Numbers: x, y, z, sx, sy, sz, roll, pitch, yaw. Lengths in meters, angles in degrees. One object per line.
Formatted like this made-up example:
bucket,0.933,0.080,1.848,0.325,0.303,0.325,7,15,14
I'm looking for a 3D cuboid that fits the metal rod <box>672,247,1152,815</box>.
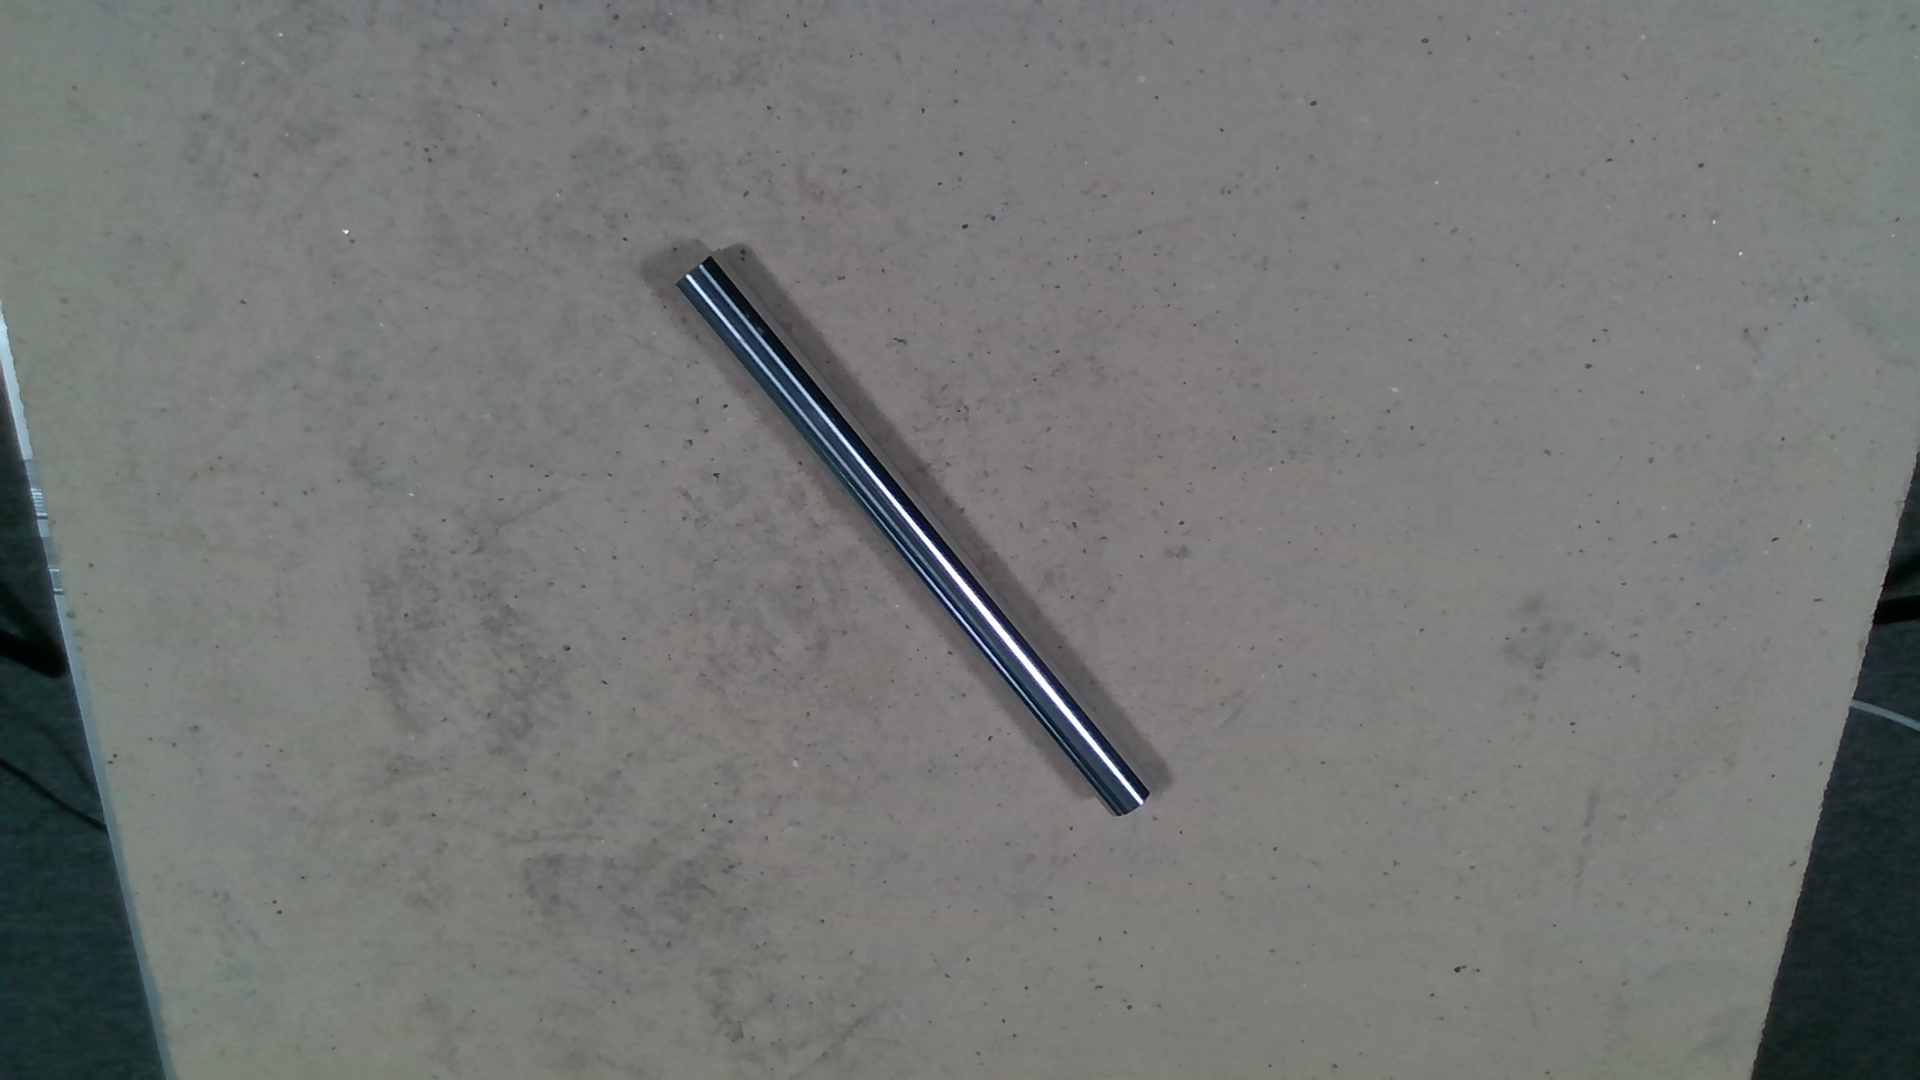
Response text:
metal rod,-0.014,0.004,0.587,0.025,0.025,0.300,-36,106,12
